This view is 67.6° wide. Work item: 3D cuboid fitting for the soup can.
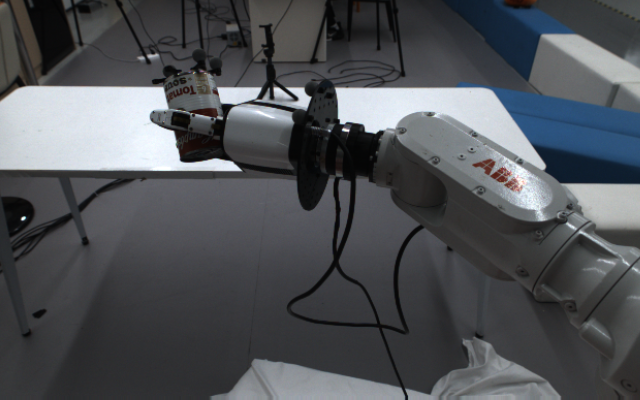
[{"bbox_3d":[-0.157,-0.105,0.624,0.067,0.101,0.067,-14,-2,-1],"label":"soup can"}]
